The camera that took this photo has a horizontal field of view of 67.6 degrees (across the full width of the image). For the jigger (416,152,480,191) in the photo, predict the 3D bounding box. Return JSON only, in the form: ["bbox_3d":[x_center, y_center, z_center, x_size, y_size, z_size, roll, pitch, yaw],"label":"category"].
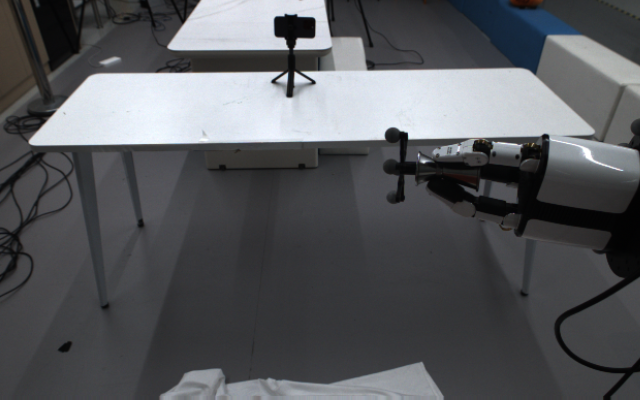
[{"bbox_3d":[0.151,-0.038,0.545,0.071,0.043,0.043,3,34,15],"label":"jigger"}]
